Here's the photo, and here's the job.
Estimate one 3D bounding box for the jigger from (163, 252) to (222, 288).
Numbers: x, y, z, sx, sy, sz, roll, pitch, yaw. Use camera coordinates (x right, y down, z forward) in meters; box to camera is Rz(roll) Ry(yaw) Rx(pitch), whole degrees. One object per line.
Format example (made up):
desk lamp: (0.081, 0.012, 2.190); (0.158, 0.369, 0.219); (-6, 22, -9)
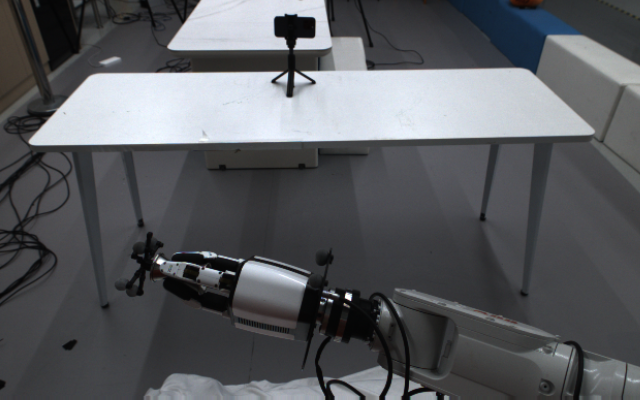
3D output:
jigger: (-0.177, 0.094, 0.639); (0.071, 0.043, 0.043); (13, 36, 4)
